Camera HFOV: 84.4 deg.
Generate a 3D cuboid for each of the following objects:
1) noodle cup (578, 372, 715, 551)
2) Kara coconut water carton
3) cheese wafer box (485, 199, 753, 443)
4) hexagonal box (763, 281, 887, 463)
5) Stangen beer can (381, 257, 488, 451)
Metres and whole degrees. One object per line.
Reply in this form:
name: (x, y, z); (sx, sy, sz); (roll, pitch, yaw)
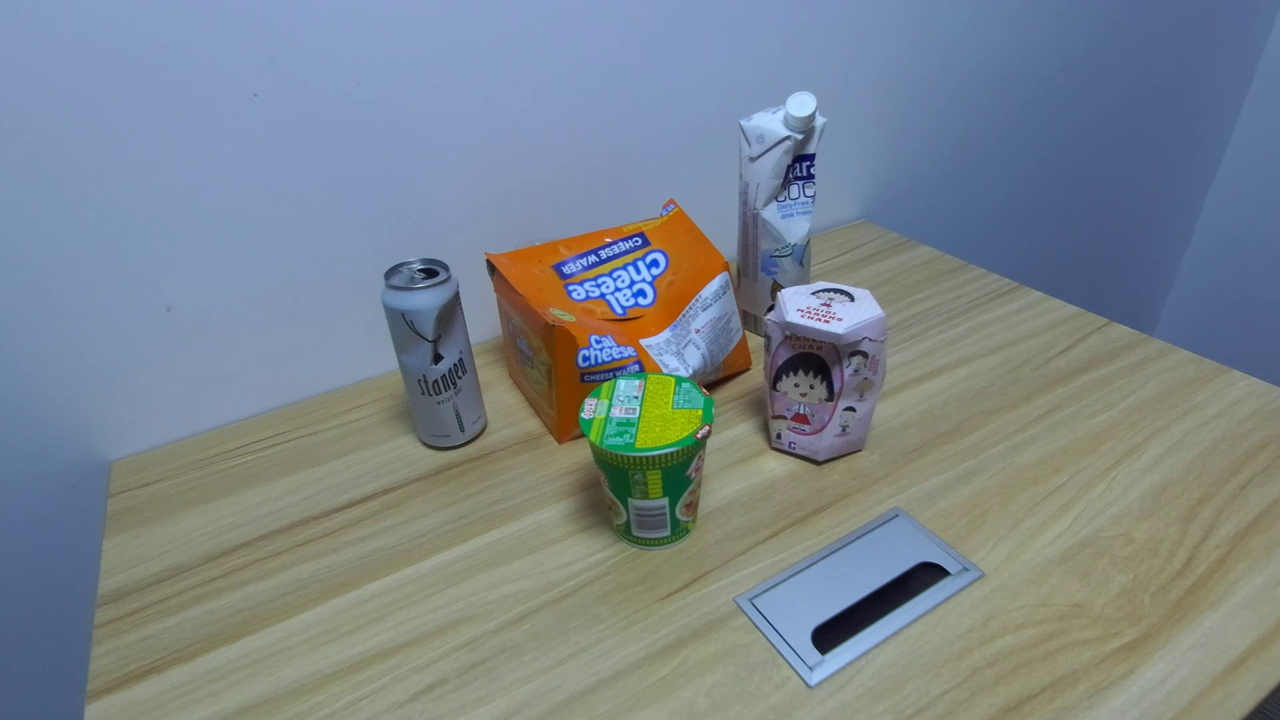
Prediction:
noodle cup: (0.008, 0.082, 0.536); (0.097, 0.110, 0.097); (-3, 32, 2)
Kara coconut water carton: (0.142, -0.148, 0.739); (0.083, 0.256, 0.078); (-19, 36, -23)
cheese wafer box: (-0.011, -0.044, 0.695); (0.219, 0.145, 0.190); (-20, 36, -22)
hexagonal box: (0.155, 0.009, 0.608); (0.090, 0.134, 0.091); (-11, 33, -15)
Stangen beer can: (-0.182, -0.004, 0.637); (0.070, 0.173, 0.069); (-20, 36, -23)
